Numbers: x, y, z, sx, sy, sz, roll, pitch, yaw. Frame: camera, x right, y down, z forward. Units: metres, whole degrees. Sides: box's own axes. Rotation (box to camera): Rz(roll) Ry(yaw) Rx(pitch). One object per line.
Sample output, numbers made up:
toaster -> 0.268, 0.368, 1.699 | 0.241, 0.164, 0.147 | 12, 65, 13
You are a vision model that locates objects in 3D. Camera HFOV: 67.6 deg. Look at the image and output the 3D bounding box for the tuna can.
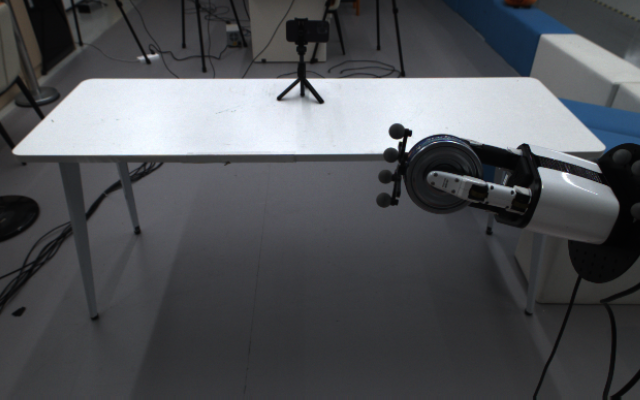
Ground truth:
tuna can -> 0.139, -0.031, 0.542 | 0.085, 0.085, 0.034 | 4, 17, 3
